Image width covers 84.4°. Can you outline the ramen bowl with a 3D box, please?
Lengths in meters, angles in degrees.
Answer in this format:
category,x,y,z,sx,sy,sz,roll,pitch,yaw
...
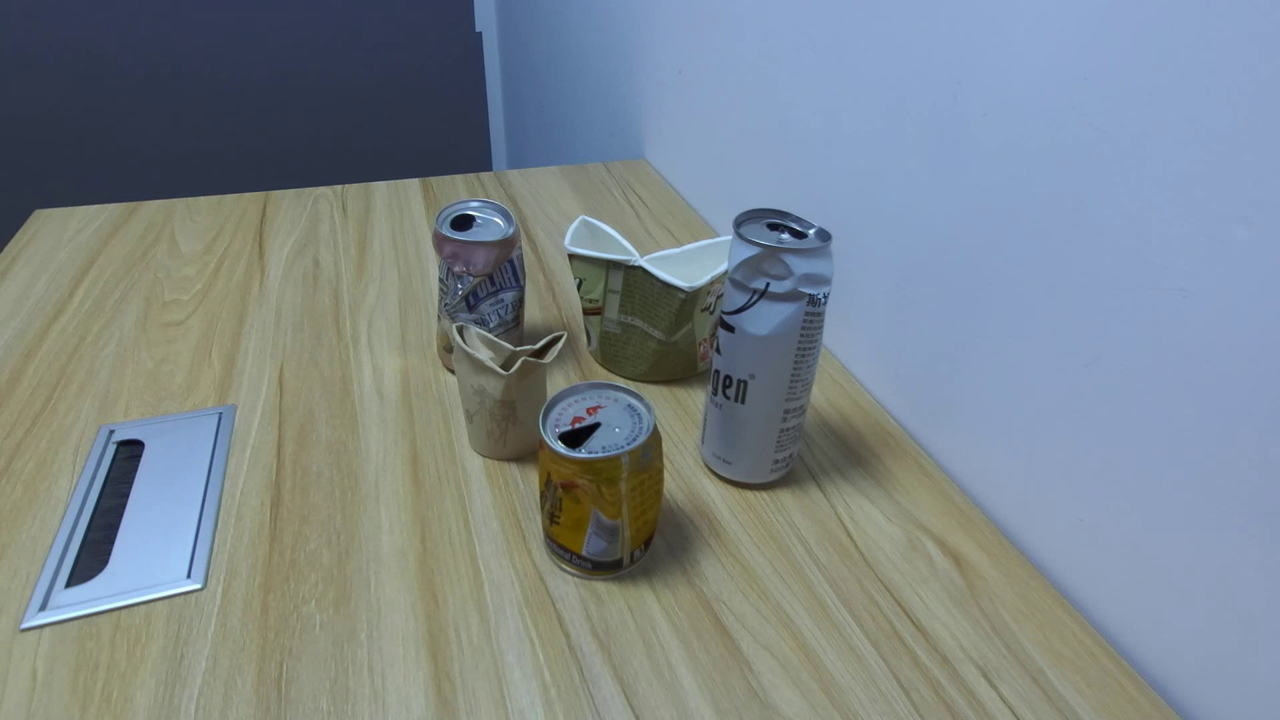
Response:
category,x,y,z,sx,sy,sz,roll,pitch,yaw
ramen bowl,0.008,-0.053,0.552,0.128,0.093,0.112,19,39,24

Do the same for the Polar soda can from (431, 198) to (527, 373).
category,x,y,z,sx,sy,sz,roll,pitch,yaw
Polar soda can,-0.119,-0.048,0.525,0.067,0.122,0.071,2,32,-9

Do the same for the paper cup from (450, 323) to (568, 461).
category,x,y,z,sx,sy,sz,roll,pitch,yaw
paper cup,-0.085,0.017,0.463,0.066,0.083,0.058,30,41,31

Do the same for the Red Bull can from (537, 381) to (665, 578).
category,x,y,z,sx,sy,sz,roll,pitch,yaw
Red Bull can,-0.023,0.065,0.389,0.072,0.092,0.072,2,37,-1

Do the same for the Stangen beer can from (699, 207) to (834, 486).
category,x,y,z,sx,sy,sz,roll,pitch,yaw
Stangen beer can,0.075,-0.003,0.427,0.066,0.166,0.066,14,36,15
